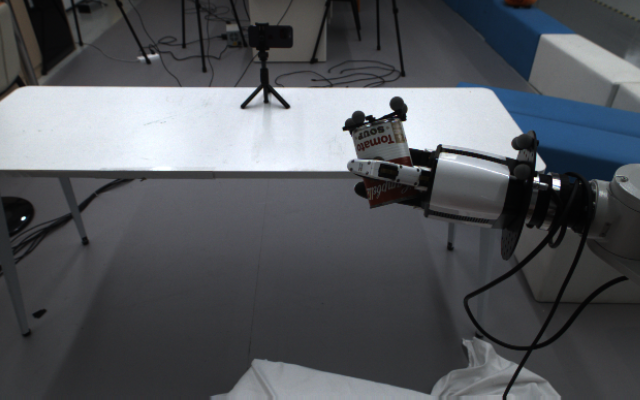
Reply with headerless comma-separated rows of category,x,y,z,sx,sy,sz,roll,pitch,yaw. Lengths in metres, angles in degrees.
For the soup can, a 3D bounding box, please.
soup can,0.085,-0.047,0.621,0.067,0.101,0.067,-14,-2,-1
